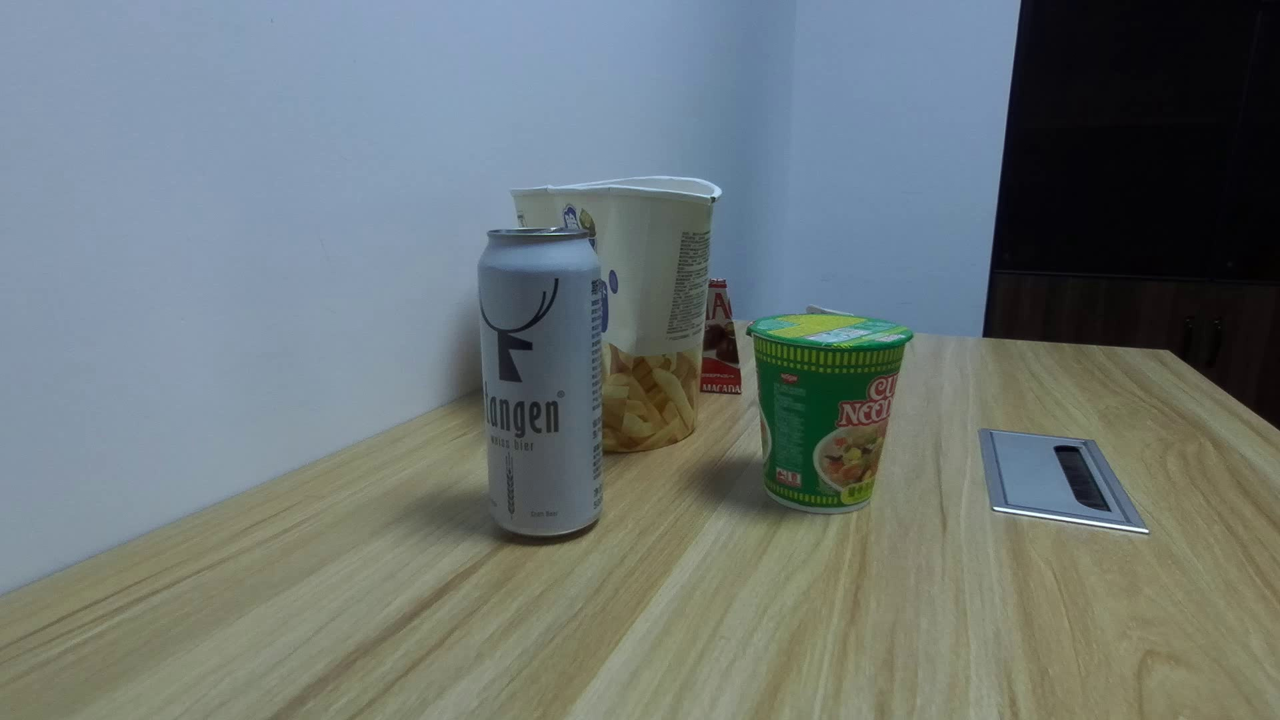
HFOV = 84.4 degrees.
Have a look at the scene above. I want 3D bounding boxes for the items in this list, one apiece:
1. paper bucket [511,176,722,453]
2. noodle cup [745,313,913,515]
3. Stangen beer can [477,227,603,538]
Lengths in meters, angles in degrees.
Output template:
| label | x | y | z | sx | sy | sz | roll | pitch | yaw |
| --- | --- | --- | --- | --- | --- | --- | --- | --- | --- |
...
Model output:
| label | x | y | z | sx | sy | sz | roll | pitch | yaw |
| --- | --- | --- | --- | --- | --- | --- | --- | --- | --- |
| paper bucket | -0.022 | -0.043 | 0.561 | 0.217 | 0.199 | 0.148 | 7 | 15 | 26 |
| noodle cup | 0.116 | 0.032 | 0.443 | 0.097 | 0.110 | 0.097 | -1 | 16 | 0 |
| Stangen beer can | -0.054 | 0.013 | 0.400 | 0.067 | 0.171 | 0.067 | 0 | 13 | 0 |
